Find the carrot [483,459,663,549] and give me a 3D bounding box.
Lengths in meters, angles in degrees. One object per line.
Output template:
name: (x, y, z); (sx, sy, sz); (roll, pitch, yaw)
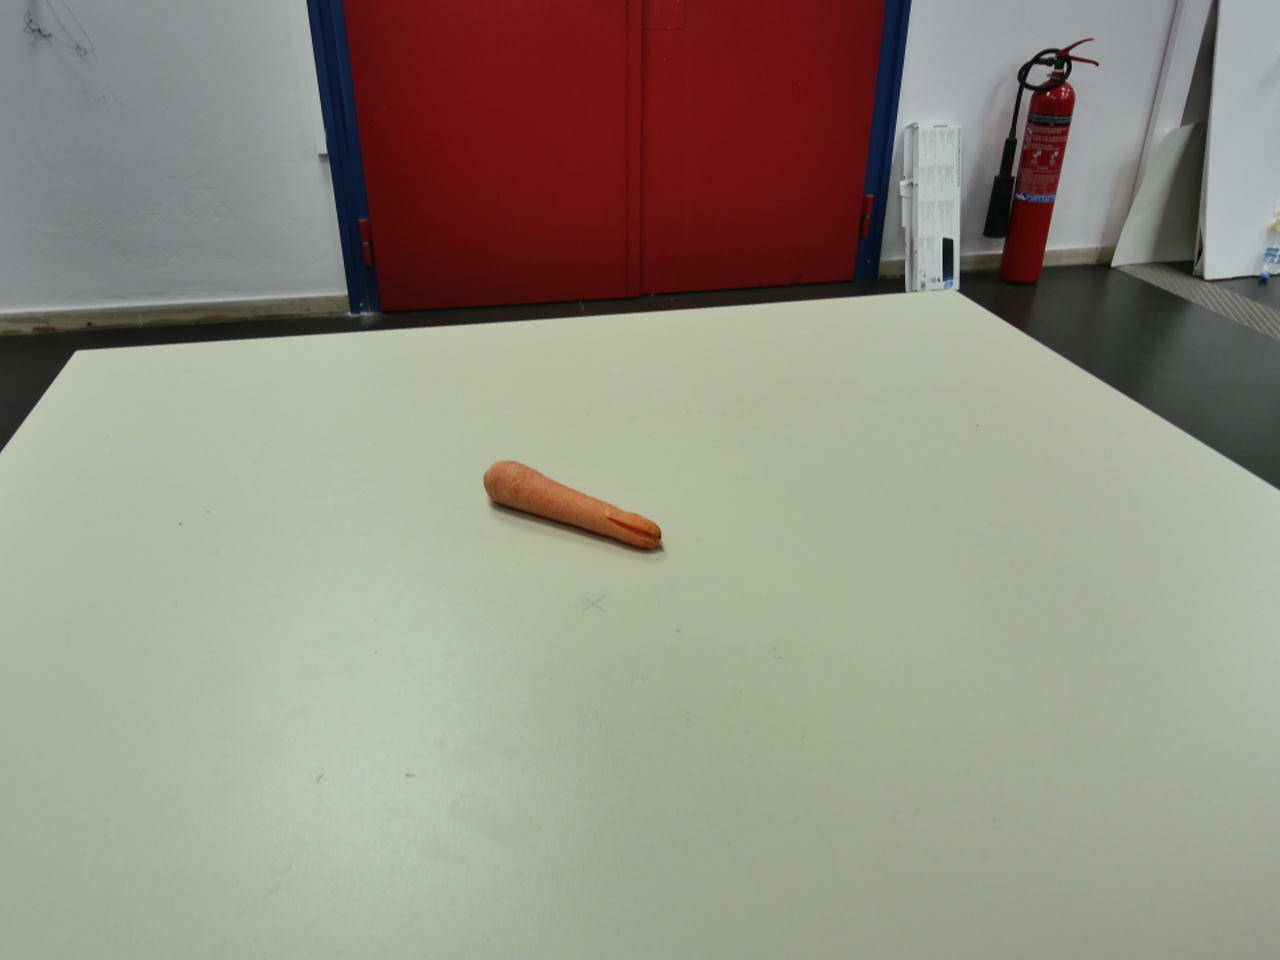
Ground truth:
carrot: (-0.045, 0.015, 0.637); (0.136, 0.032, 0.030); (16, 31, 29)
